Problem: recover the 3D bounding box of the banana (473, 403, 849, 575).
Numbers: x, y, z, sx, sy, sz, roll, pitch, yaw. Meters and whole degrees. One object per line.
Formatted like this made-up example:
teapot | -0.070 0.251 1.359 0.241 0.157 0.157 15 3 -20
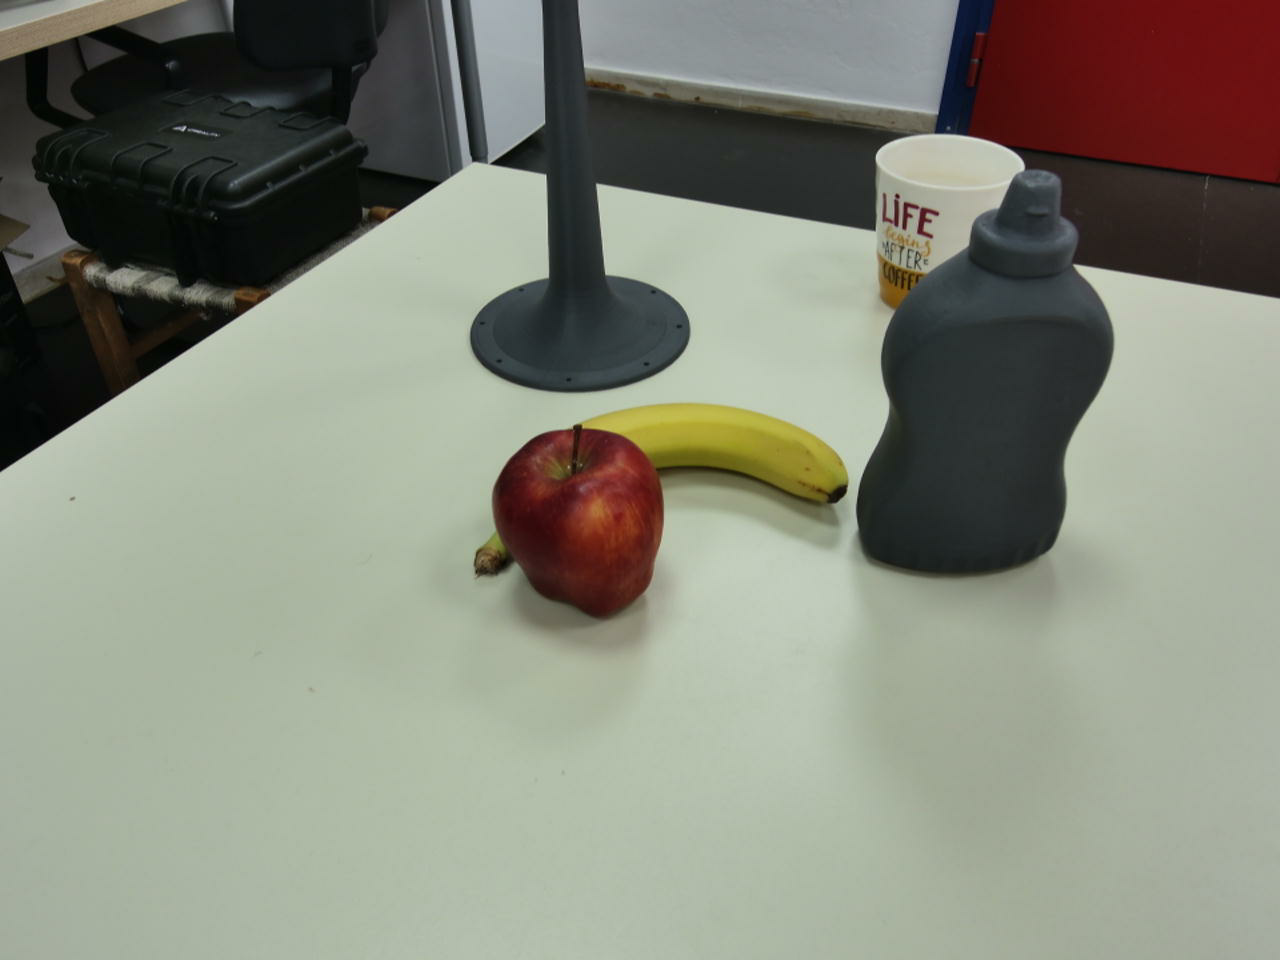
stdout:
banana | 0.005 -0.006 0.538 0.196 0.041 0.094 -7 38 -8
